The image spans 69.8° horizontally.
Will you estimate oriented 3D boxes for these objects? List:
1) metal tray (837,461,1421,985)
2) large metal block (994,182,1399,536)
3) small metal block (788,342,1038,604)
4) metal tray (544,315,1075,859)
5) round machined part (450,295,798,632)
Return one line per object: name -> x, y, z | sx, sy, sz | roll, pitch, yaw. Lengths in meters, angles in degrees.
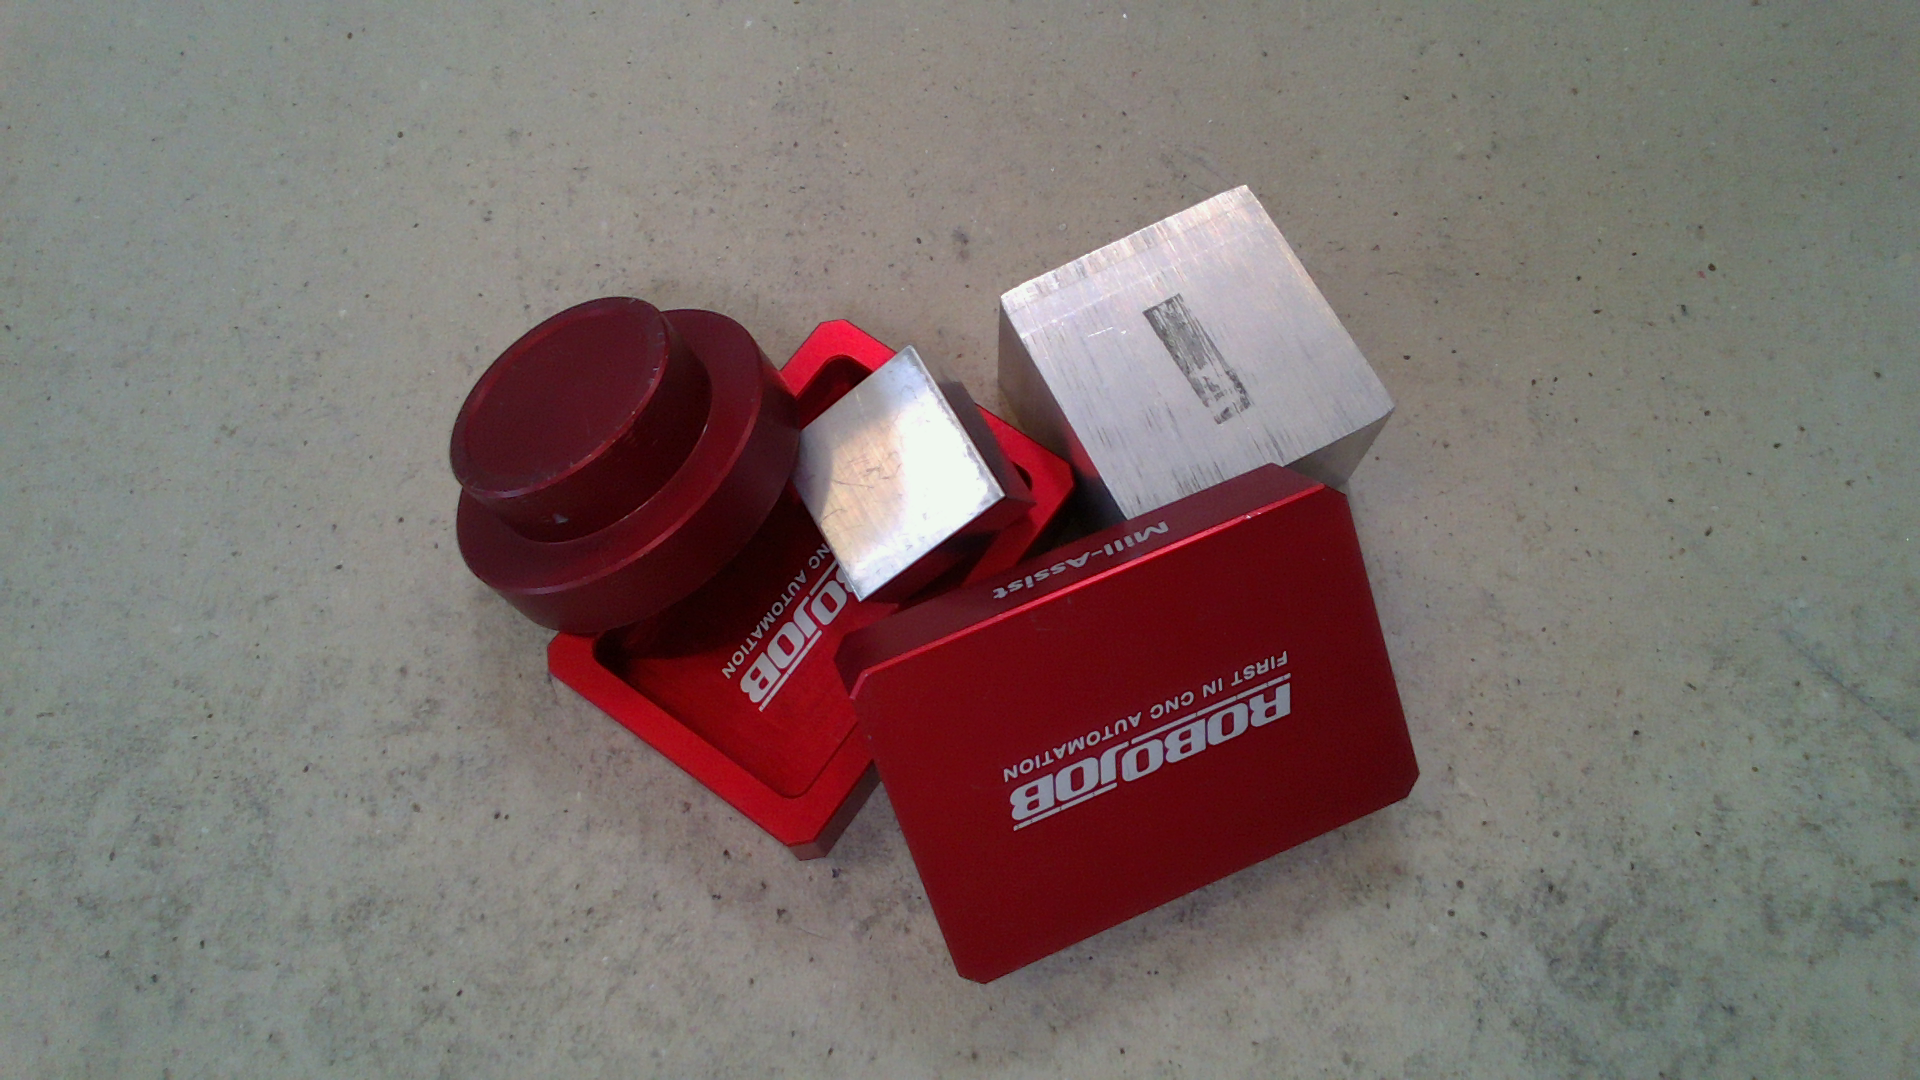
metal tray -> 0.044, 0.045, 0.351 | 0.130, 0.030, 0.090 | -22, 108, -7
large metal block -> 0.064, -0.043, 0.398 | 0.080, 0.050, 0.080 | -25, 72, -9
small metal block -> -0.015, -0.017, 0.376 | 0.050, 0.025, 0.050 | -36, 74, 17
metal tray -> -0.039, 0.011, 0.387 | 0.090, 0.030, 0.130 | 33, 73, 11
round machined part -> -0.097, -0.027, 0.373 | 0.098, 0.042, 0.098 | -16, 49, 19
